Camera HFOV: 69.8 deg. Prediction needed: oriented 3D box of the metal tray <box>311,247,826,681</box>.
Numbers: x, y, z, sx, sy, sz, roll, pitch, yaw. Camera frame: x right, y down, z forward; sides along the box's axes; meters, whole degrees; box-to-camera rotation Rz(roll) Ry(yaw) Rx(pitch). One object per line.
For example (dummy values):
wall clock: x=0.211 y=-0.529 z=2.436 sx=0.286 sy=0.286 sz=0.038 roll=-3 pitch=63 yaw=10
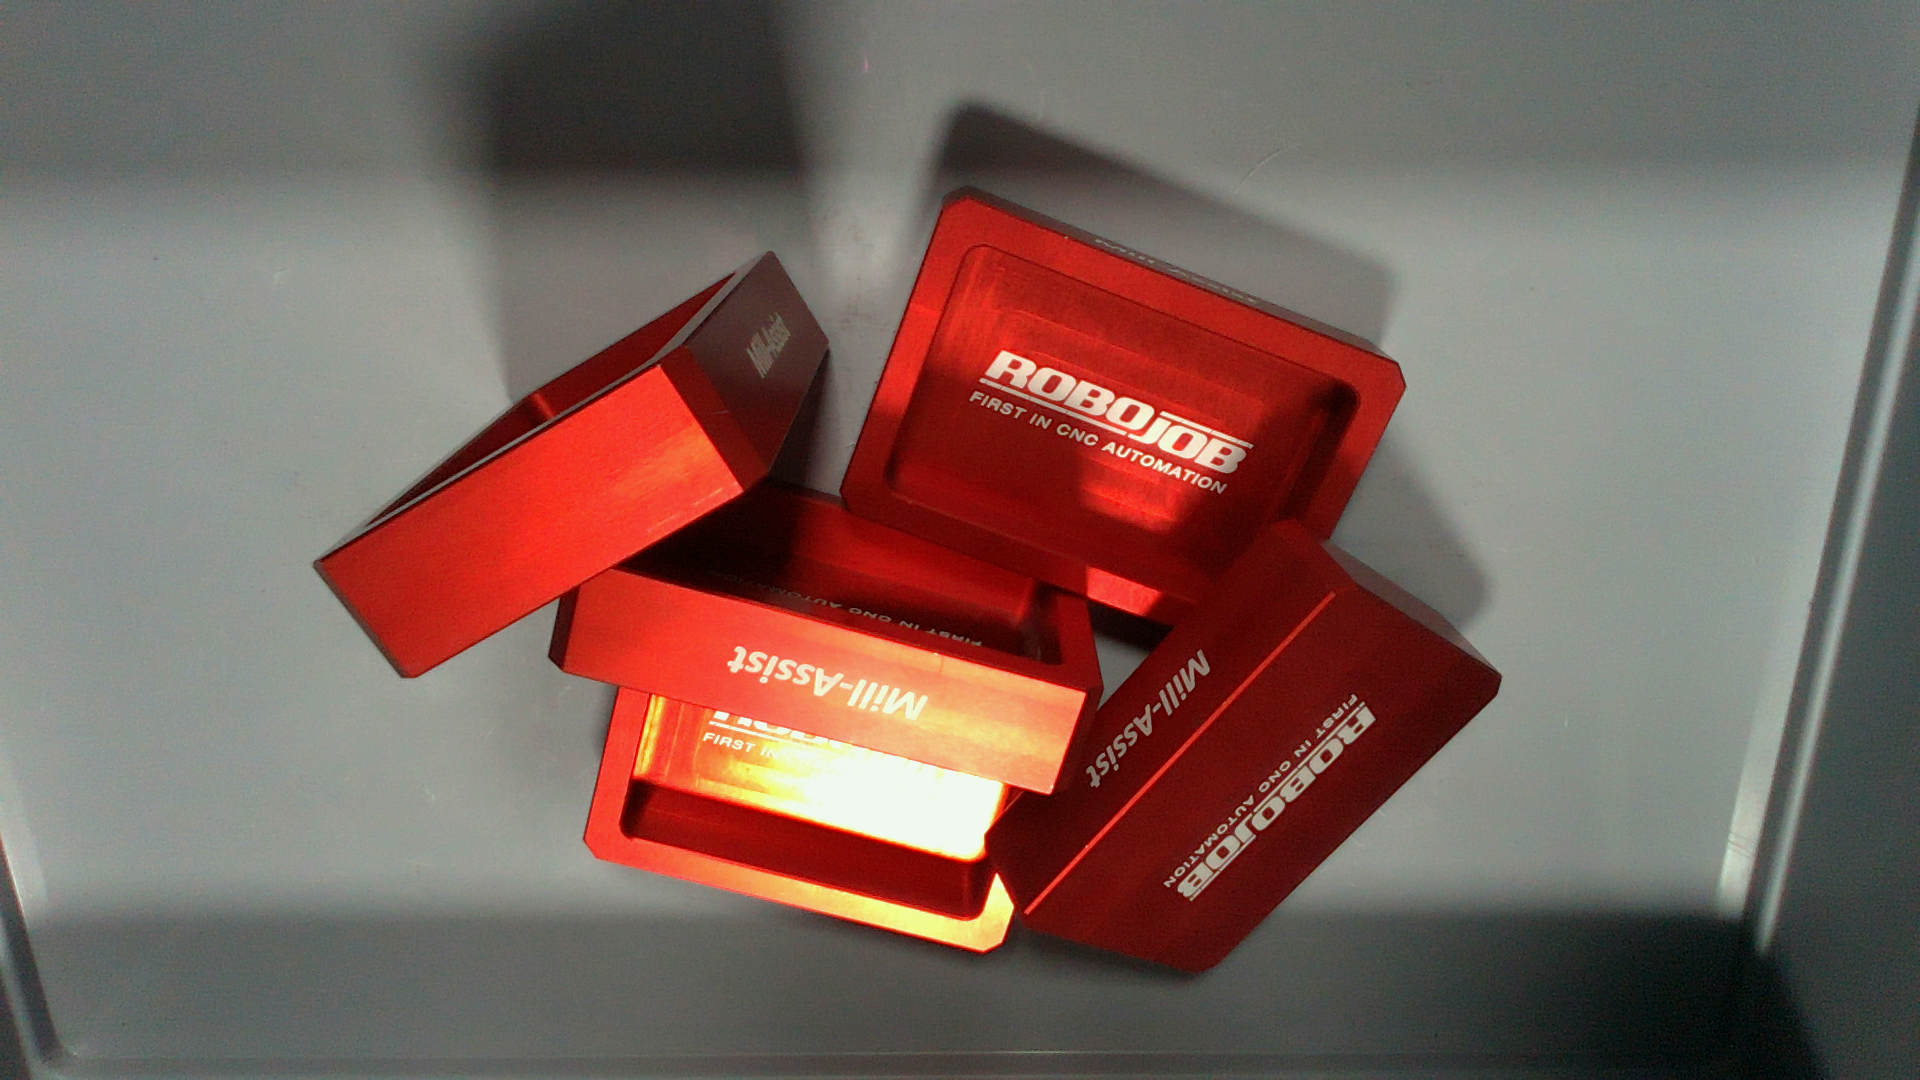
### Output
metal tray: x=-0.083 y=-0.025 z=0.326 sx=0.090 sy=0.130 sz=0.030 roll=-28 pitch=108 yaw=11

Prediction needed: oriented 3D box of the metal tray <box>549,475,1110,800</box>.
metal tray: x=-0.031 y=0.019 z=0.364 sx=0.130 sy=0.090 sz=0.030 roll=15 pitch=110 yaw=-6

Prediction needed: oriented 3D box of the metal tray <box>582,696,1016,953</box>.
metal tray: x=-0.038 y=0.065 z=0.412 sx=0.130 sy=0.030 sz=0.090 roll=15 pitch=109 yaw=-6

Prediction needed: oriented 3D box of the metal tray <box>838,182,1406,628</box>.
metal tray: x=0.042 y=-0.032 z=0.378 sx=0.130 sy=0.030 sz=0.090 roll=20 pitch=109 yaw=-7

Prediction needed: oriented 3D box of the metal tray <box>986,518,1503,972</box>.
metal tray: x=0.081 y=0.064 z=0.393 sx=0.090 sy=0.030 sz=0.130 roll=27 pitch=111 yaw=-40
